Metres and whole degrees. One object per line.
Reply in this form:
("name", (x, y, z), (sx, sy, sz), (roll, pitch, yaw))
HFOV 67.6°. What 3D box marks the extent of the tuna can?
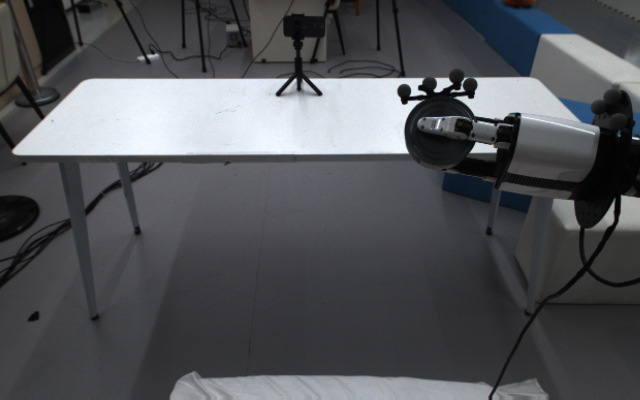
("tuna can", (0.148, -0.083, 0.595), (0.085, 0.085, 0.034), (10, -6, 11))
